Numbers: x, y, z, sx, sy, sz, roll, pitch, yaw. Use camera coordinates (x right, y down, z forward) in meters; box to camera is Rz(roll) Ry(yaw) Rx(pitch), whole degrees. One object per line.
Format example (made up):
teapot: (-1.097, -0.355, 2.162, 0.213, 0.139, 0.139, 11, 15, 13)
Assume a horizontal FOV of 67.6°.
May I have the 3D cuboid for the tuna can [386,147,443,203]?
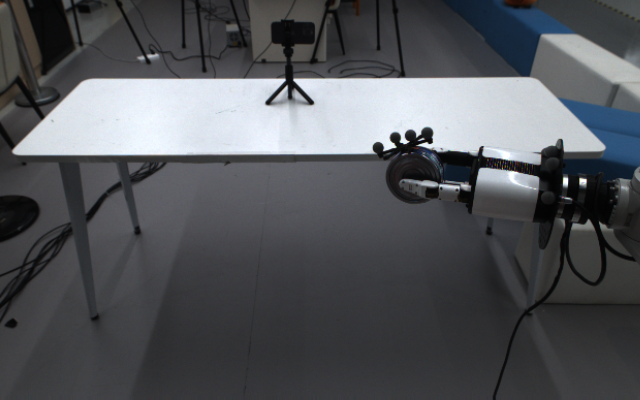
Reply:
tuna can: (0.147, -0.040, 0.745, 0.085, 0.085, 0.034, 15, 30, 17)
